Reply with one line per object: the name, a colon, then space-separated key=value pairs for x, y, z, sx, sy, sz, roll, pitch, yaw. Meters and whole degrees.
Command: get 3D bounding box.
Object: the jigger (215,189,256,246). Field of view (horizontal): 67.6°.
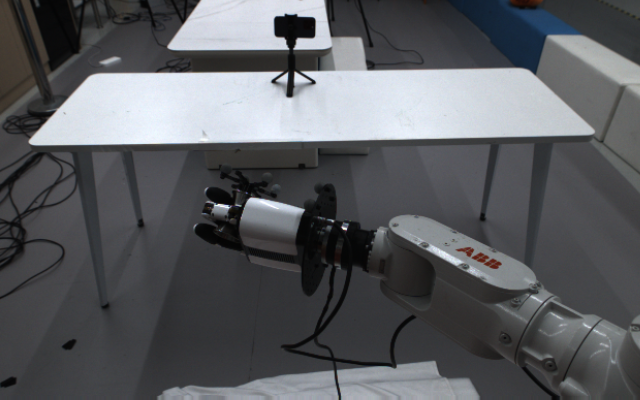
jigger: x=-0.120 y=0.024 z=0.710 sx=0.043 sy=0.043 sz=0.071 roll=13 pitch=70 yaw=16
